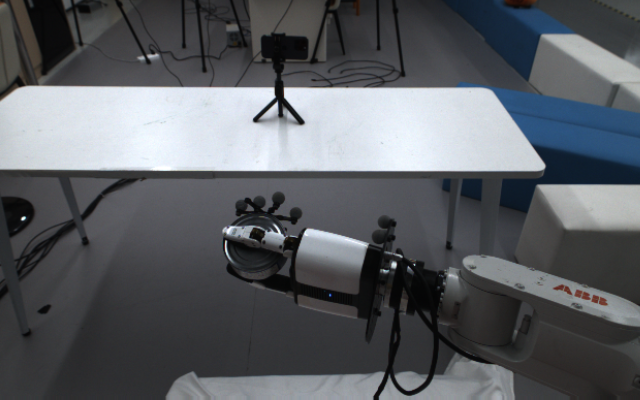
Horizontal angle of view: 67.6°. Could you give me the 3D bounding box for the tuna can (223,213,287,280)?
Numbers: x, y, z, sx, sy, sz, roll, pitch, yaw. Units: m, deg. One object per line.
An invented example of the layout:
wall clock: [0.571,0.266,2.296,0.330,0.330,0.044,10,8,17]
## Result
tuna can: [-0.084,0.061,0.646,0.085,0.034,0.085,-2,57,4]
